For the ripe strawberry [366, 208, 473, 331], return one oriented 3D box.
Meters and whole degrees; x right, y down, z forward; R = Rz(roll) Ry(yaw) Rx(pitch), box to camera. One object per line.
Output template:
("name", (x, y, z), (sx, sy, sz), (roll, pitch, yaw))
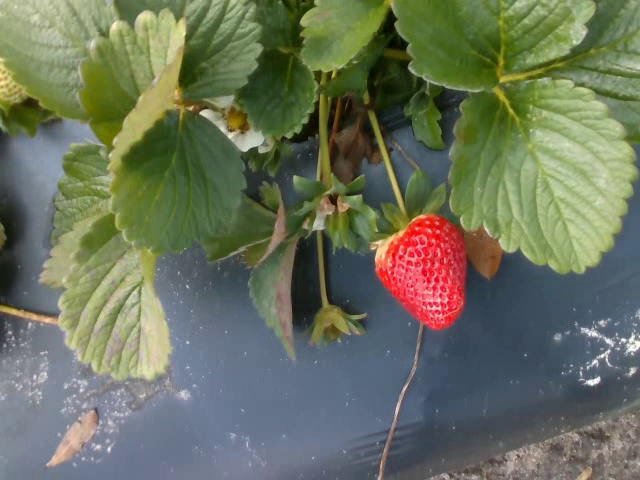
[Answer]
("ripe strawberry", (0.048, 0.019, 0.277), (0.050, 0.053, 0.049), (-21, -26, 10))
